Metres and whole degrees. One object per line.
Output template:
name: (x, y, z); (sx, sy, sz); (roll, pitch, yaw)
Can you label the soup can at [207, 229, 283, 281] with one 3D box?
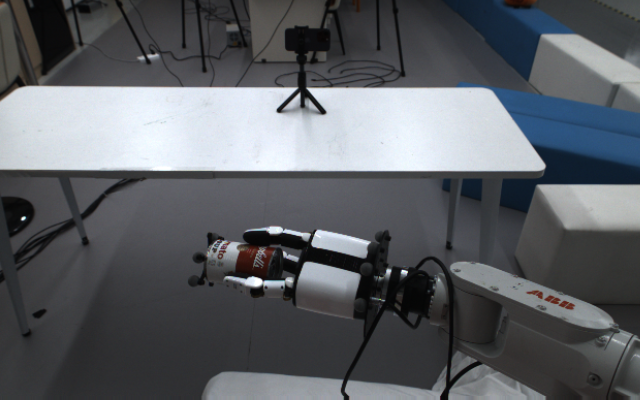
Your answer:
soup can: (-0.111, 0.099, 0.723); (0.101, 0.067, 0.067); (6, 35, 13)
